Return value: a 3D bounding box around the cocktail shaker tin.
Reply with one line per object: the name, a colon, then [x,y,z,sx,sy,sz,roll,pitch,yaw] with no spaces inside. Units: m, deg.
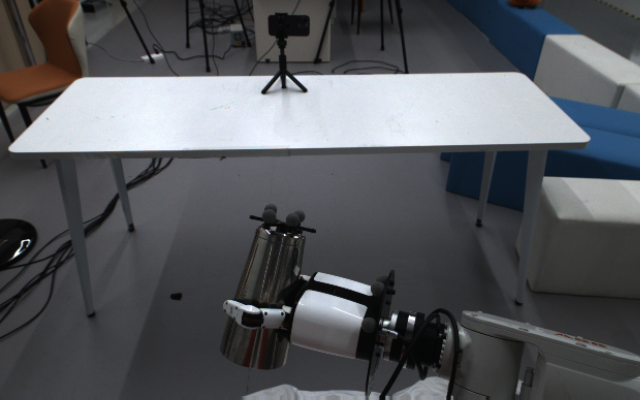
cocktail shaker tin: [-0.068,0.123,0.640,0.093,0.170,0.093,13,4,-1]
